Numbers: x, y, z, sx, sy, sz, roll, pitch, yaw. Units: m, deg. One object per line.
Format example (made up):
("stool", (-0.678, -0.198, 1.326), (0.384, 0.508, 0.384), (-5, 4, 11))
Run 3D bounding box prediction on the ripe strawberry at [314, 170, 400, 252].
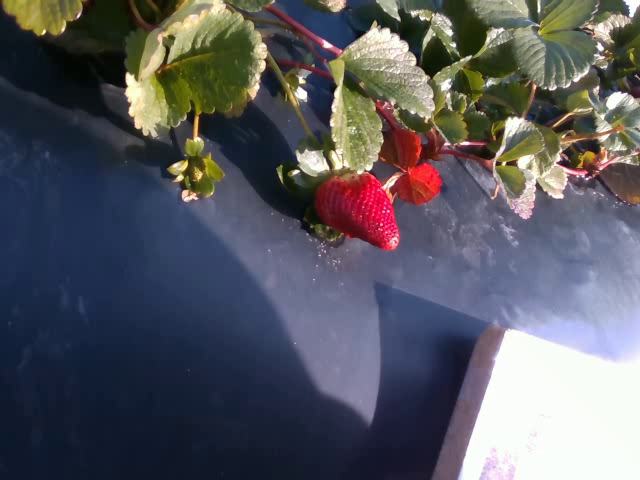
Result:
("ripe strawberry", (0.022, -0.013, 0.293), (0.040, 0.056, 0.041), (-32, -28, -16))
